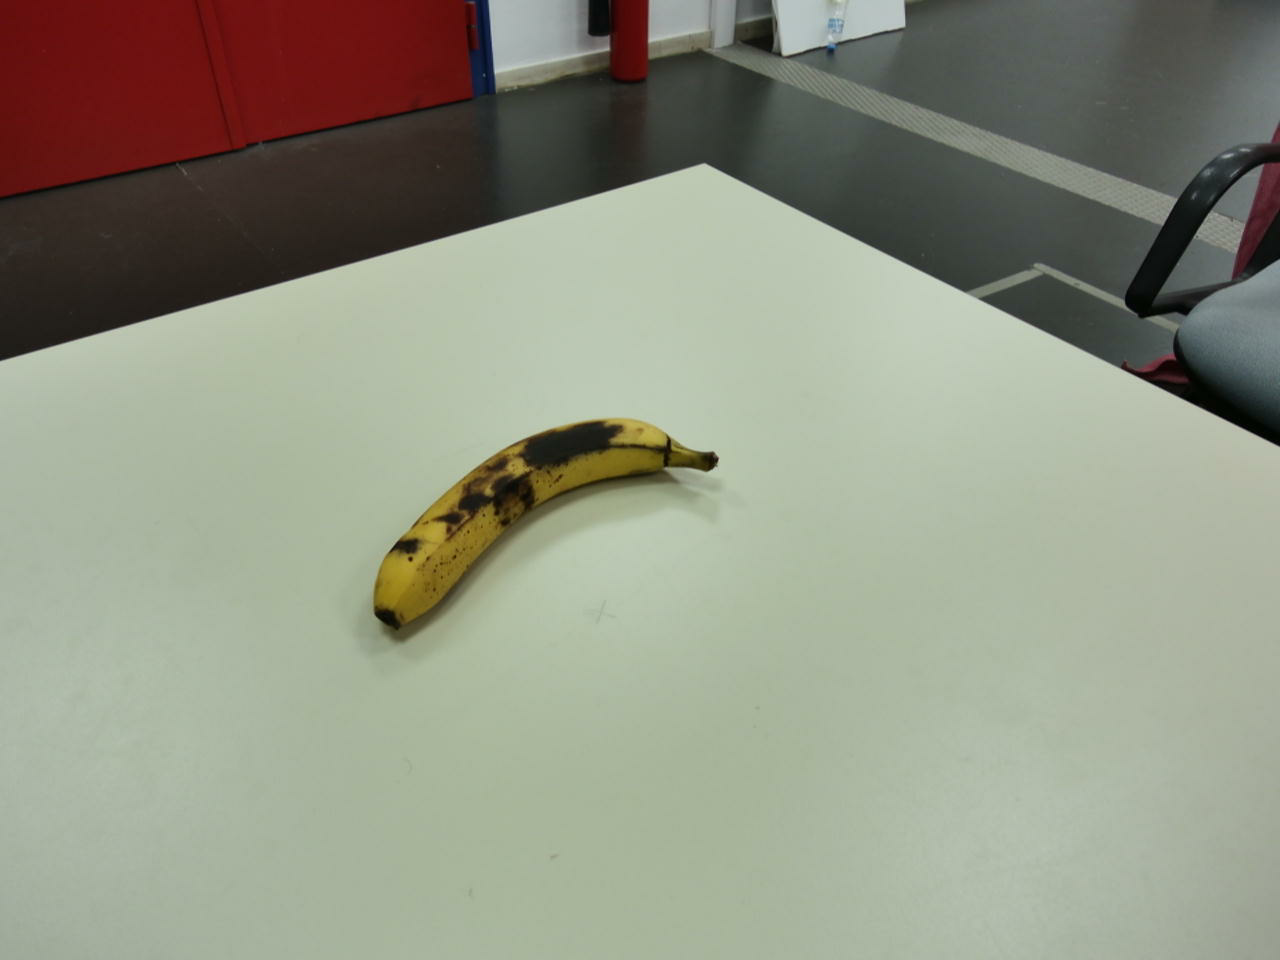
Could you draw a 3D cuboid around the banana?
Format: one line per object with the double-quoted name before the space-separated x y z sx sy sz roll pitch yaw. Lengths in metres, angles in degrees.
"banana" -0.063 0.010 0.574 0.222 0.037 0.084 -24 45 -29
